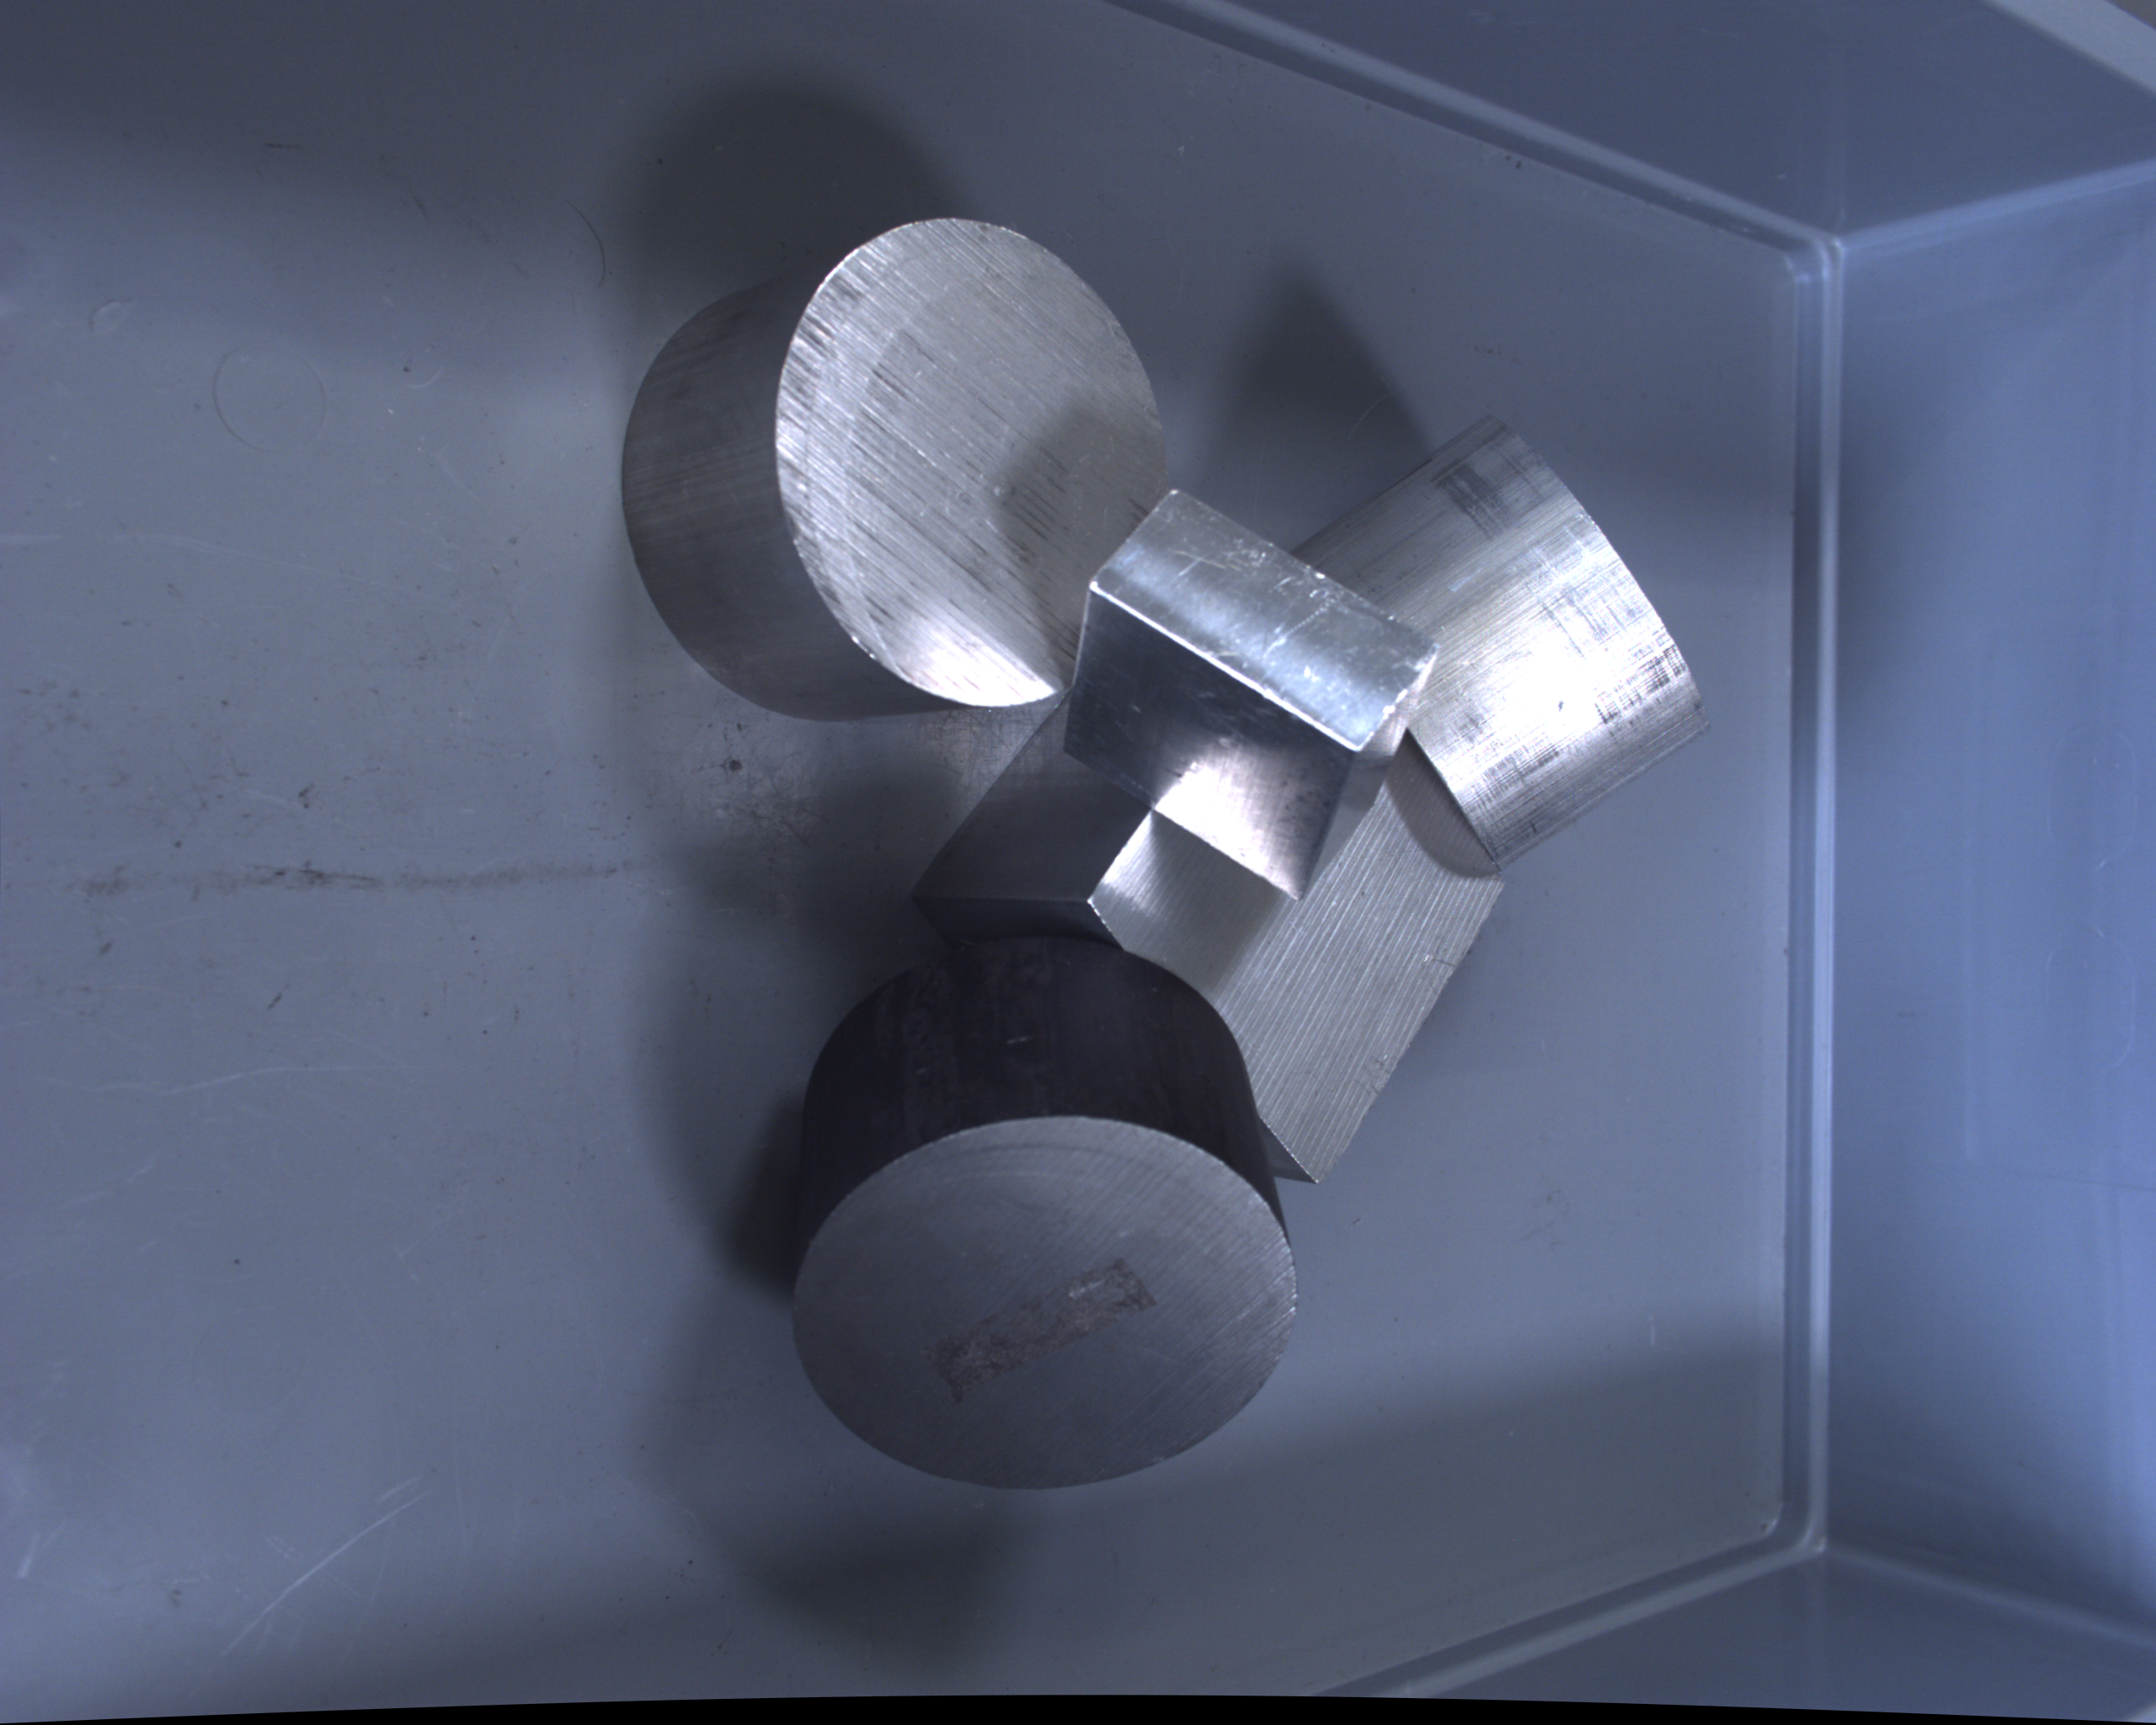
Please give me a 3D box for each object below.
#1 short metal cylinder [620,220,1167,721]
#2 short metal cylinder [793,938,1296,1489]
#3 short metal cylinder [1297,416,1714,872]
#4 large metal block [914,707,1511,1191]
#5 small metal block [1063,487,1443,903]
[{"bbox_3d":[-0.031,-0.066,0.363,0.081,0.050,0.079,0,90,-40],"label":"short metal cylinder"},{"bbox_3d":[-0.007,0.060,0.356,0.081,0.050,0.079,-2,121,-4],"label":"short metal cylinder"},{"bbox_3d":[0.086,-0.045,0.432,0.050,0.080,0.080,-35,118,8],"label":"short metal cylinder"},{"bbox_3d":[0.029,0.005,0.410,0.080,0.050,0.080,52,60,-28],"label":"large metal block"},{"bbox_3d":[0.027,-0.027,0.347,0.050,0.050,0.025,33,64,12],"label":"small metal block"}]
